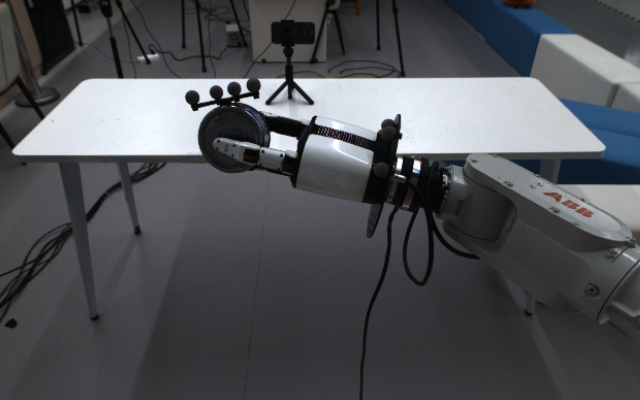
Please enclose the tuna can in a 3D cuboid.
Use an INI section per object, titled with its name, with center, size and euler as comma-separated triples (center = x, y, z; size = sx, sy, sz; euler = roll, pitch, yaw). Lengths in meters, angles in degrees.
[tuna can]
center = -0.104, -0.071, 0.604
size = 0.085, 0.085, 0.034
euler = 6, 18, 5
